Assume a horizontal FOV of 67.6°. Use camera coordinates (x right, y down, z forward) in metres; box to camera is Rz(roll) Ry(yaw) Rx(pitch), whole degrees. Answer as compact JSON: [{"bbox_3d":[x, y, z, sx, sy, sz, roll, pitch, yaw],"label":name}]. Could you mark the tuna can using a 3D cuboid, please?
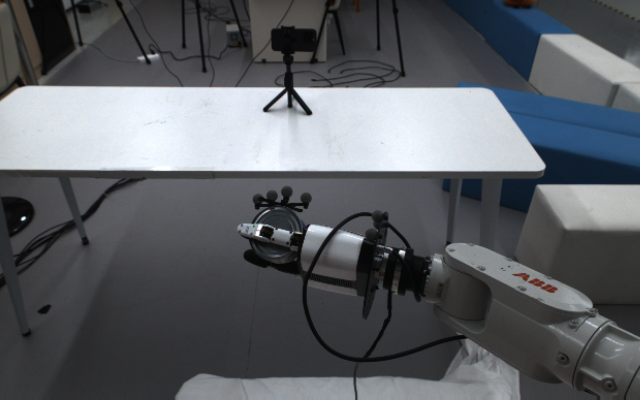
[{"bbox_3d":[-0.064,0.054,0.739,0.085,0.034,0.085,-5,70,14],"label":"tuna can"}]
